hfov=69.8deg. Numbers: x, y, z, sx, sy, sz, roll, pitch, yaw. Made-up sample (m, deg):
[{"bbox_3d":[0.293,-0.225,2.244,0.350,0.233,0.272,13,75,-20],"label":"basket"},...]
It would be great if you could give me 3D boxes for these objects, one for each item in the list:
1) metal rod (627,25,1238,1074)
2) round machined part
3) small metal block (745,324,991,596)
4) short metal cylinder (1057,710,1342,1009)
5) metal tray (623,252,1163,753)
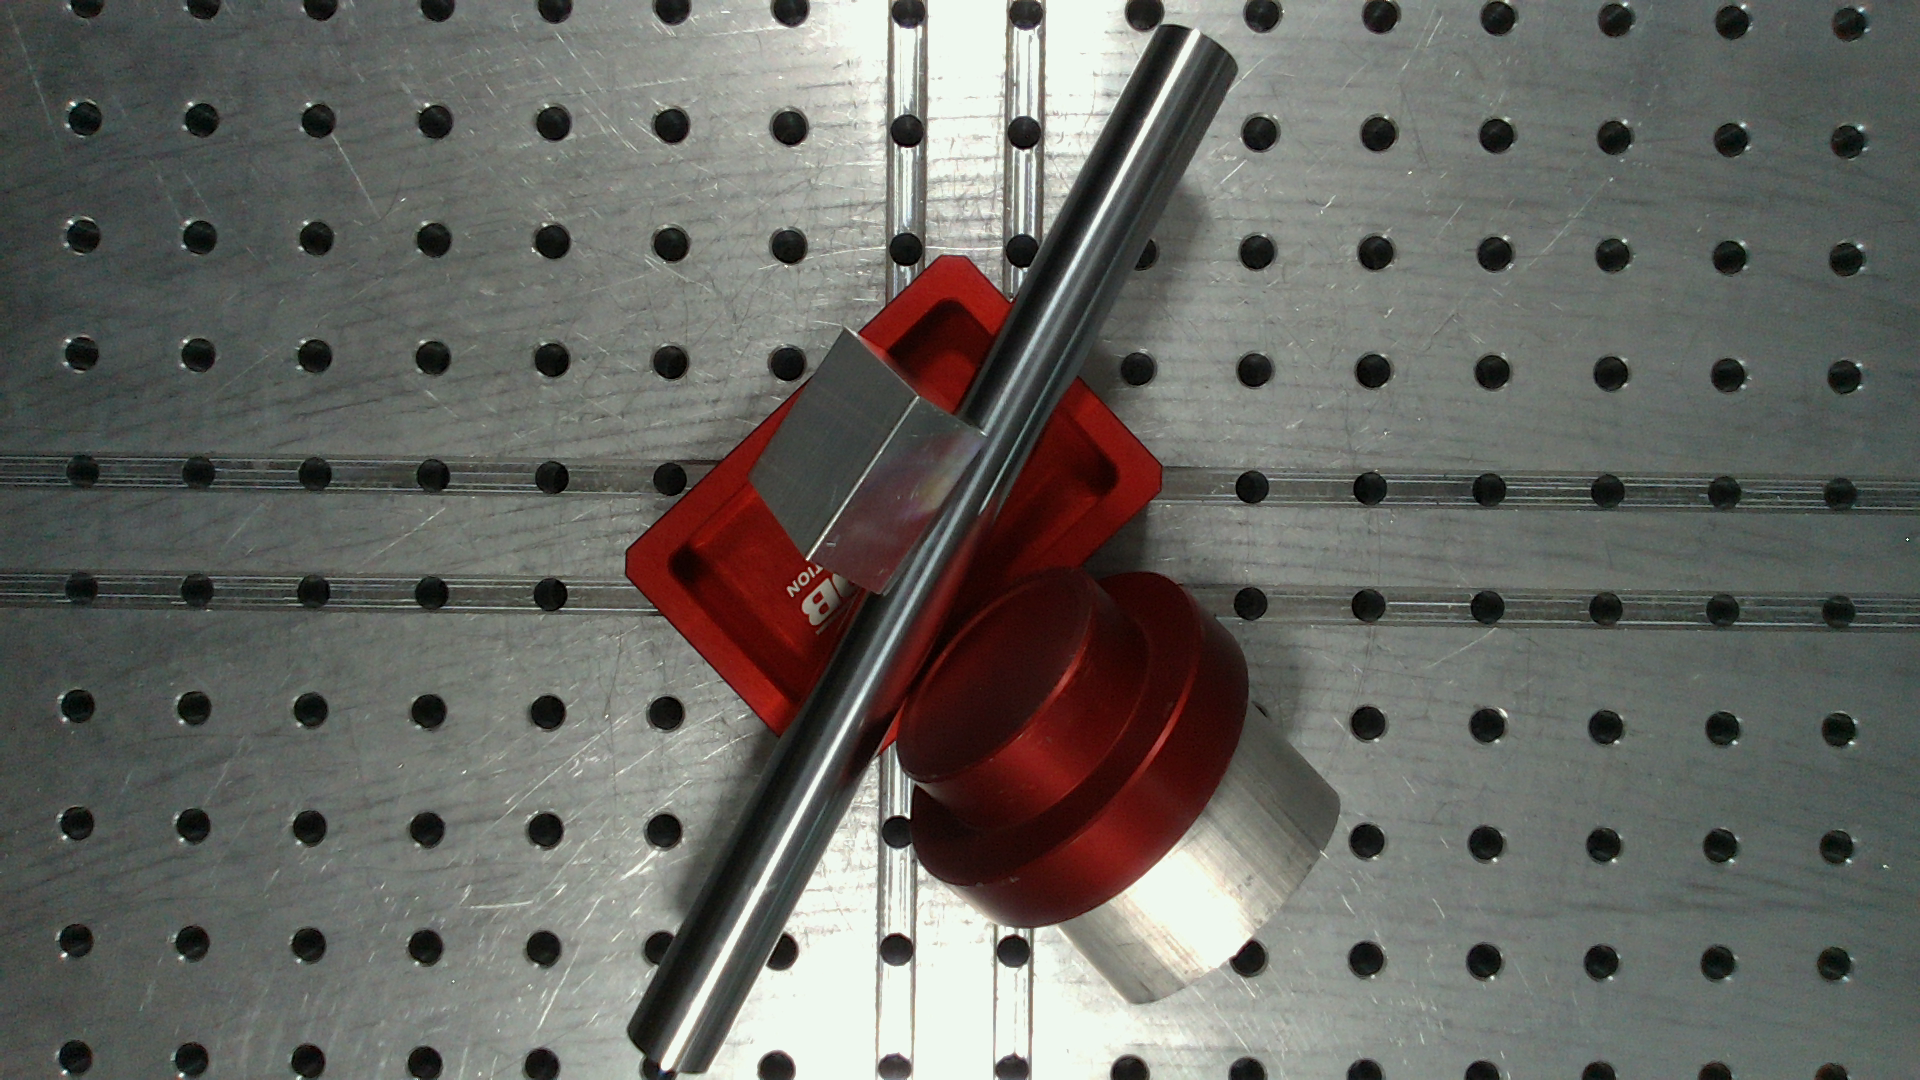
[{"bbox_3d":[-0.007,0.003,0.367,0.025,0.025,0.300,28,90,0],"label":"metal rod"},{"bbox_3d":[0.022,0.046,0.351,0.098,0.098,0.042,-46,112,0],"label":"round machined part"},{"bbox_3d":[-0.026,-0.022,0.363,0.025,0.050,0.050,28,102,-37],"label":"small metal block"},{"bbox_3d":[0.055,0.077,0.370,0.080,0.080,0.050,-44,90,0],"label":"short metal cylinder"},{"bbox_3d":[-0.019,-0.006,0.394,0.130,0.030,0.090,-43,90,0],"label":"metal tray"}]
